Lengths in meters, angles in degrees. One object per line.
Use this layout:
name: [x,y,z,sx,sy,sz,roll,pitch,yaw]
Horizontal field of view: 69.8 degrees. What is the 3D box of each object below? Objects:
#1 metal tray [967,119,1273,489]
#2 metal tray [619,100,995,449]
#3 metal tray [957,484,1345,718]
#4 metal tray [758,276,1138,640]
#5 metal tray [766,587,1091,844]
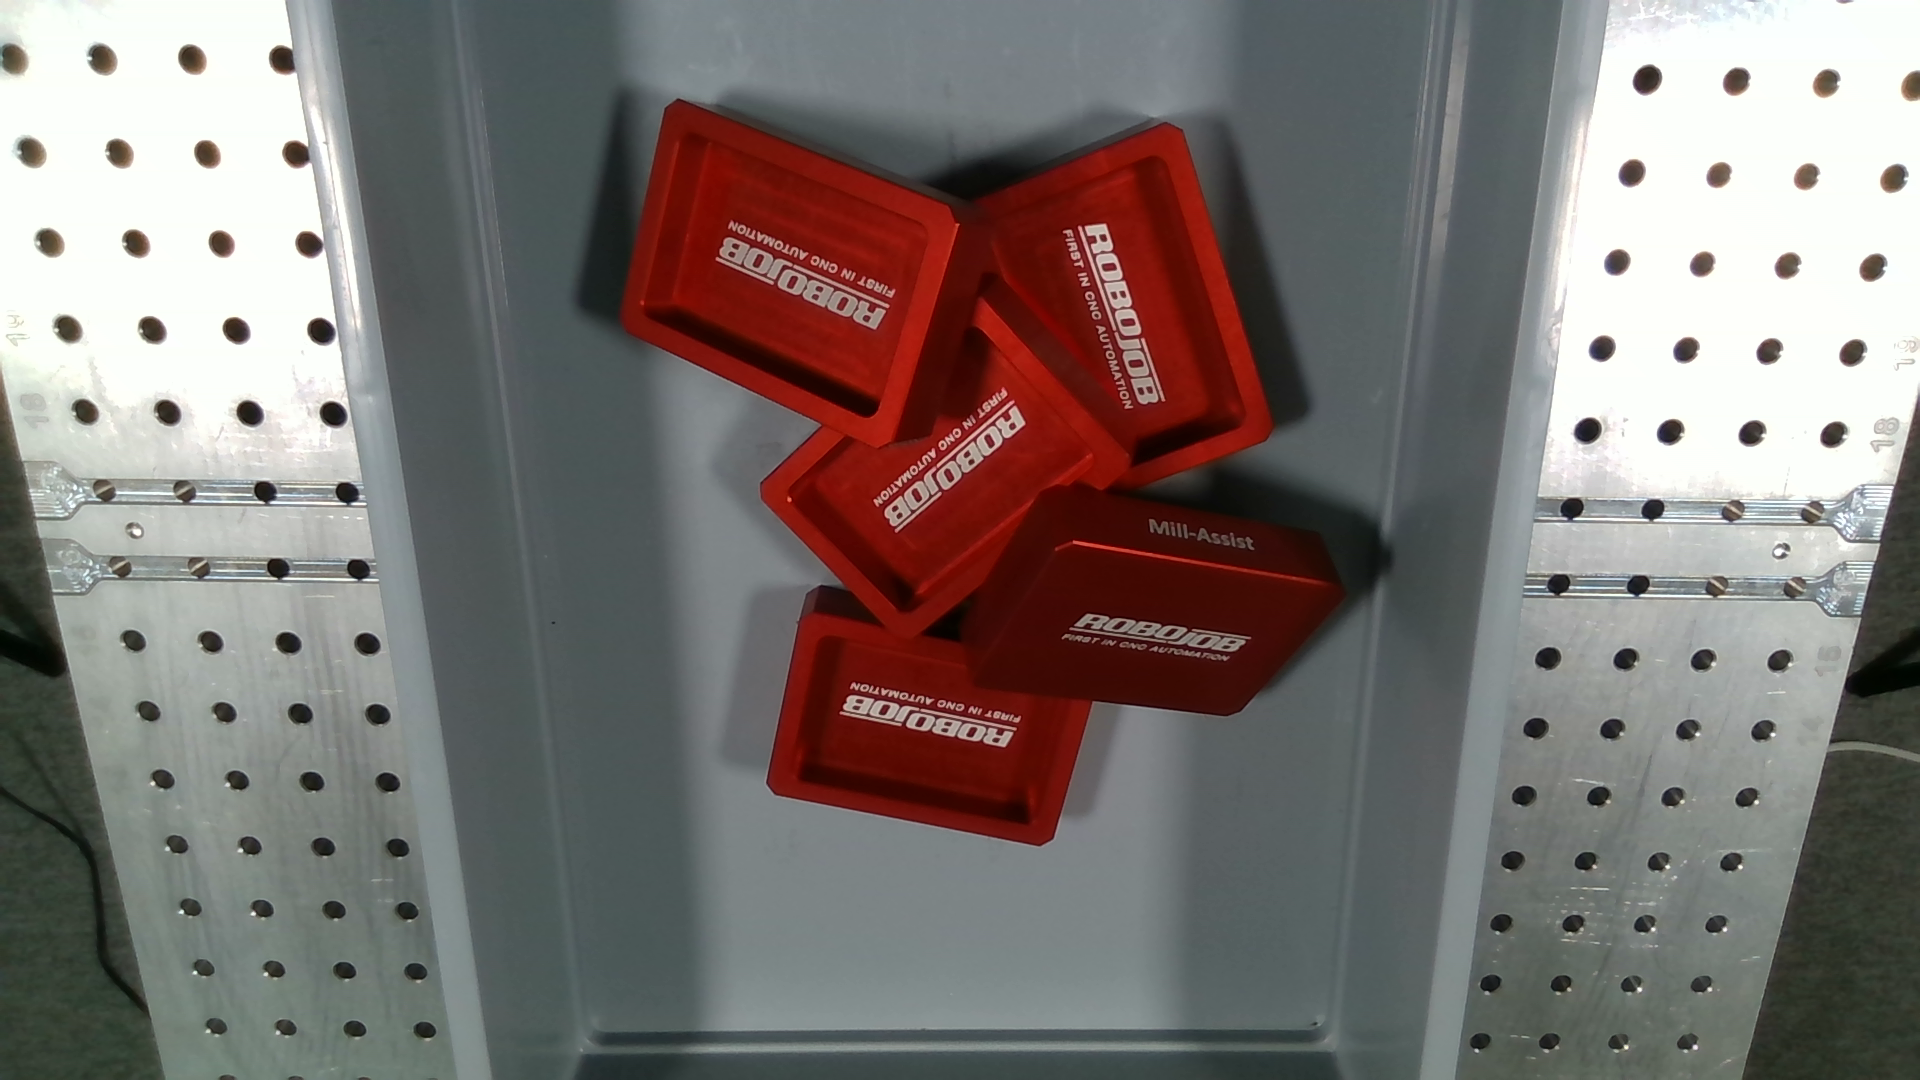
metal tray: [0.061,-0.089,0.548,0.090,0.030,0.130,-20,109,7]
metal tray: [-0.060,-0.100,0.513,0.130,0.030,0.090,26,111,21]
metal tray: [0.076,0.028,0.554,0.130,0.030,0.090,9,135,-23]
metal tray: [-0.006,-0.030,0.547,0.130,0.030,0.090,-39,99,28]
metal tray: [-0.013,0.078,0.609,0.130,0.030,0.090,12,110,-4]
